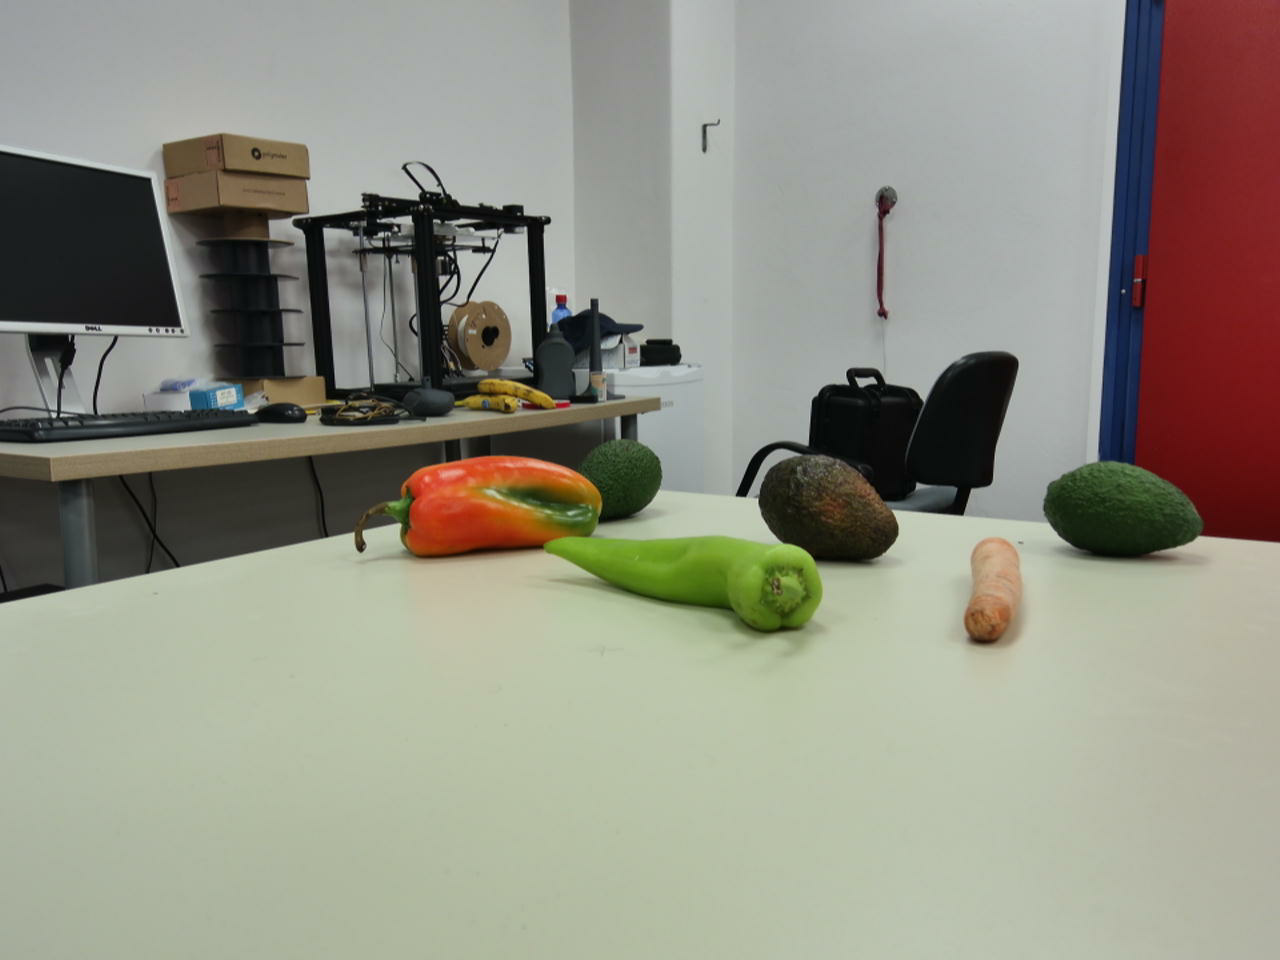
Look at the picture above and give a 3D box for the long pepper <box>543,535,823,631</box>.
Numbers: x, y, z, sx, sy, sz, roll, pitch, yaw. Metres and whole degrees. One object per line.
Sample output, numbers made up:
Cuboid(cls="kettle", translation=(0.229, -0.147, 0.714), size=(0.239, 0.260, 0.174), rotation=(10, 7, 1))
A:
Cuboid(cls="long pepper", translation=(0.026, 0.049, 0.569), size=(0.065, 0.045, 0.205), rotation=(-4, 7, -38))
